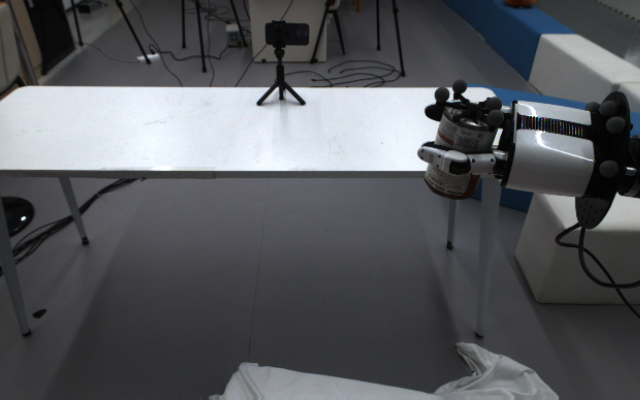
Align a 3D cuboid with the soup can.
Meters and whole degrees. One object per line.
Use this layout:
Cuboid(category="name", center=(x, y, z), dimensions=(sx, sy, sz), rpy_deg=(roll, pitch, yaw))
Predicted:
Cuboid(category="soup can", center=(0.174, -0.062, 0.598), dimensions=(0.067, 0.101, 0.067), rpy_deg=(4, 37, -3))
